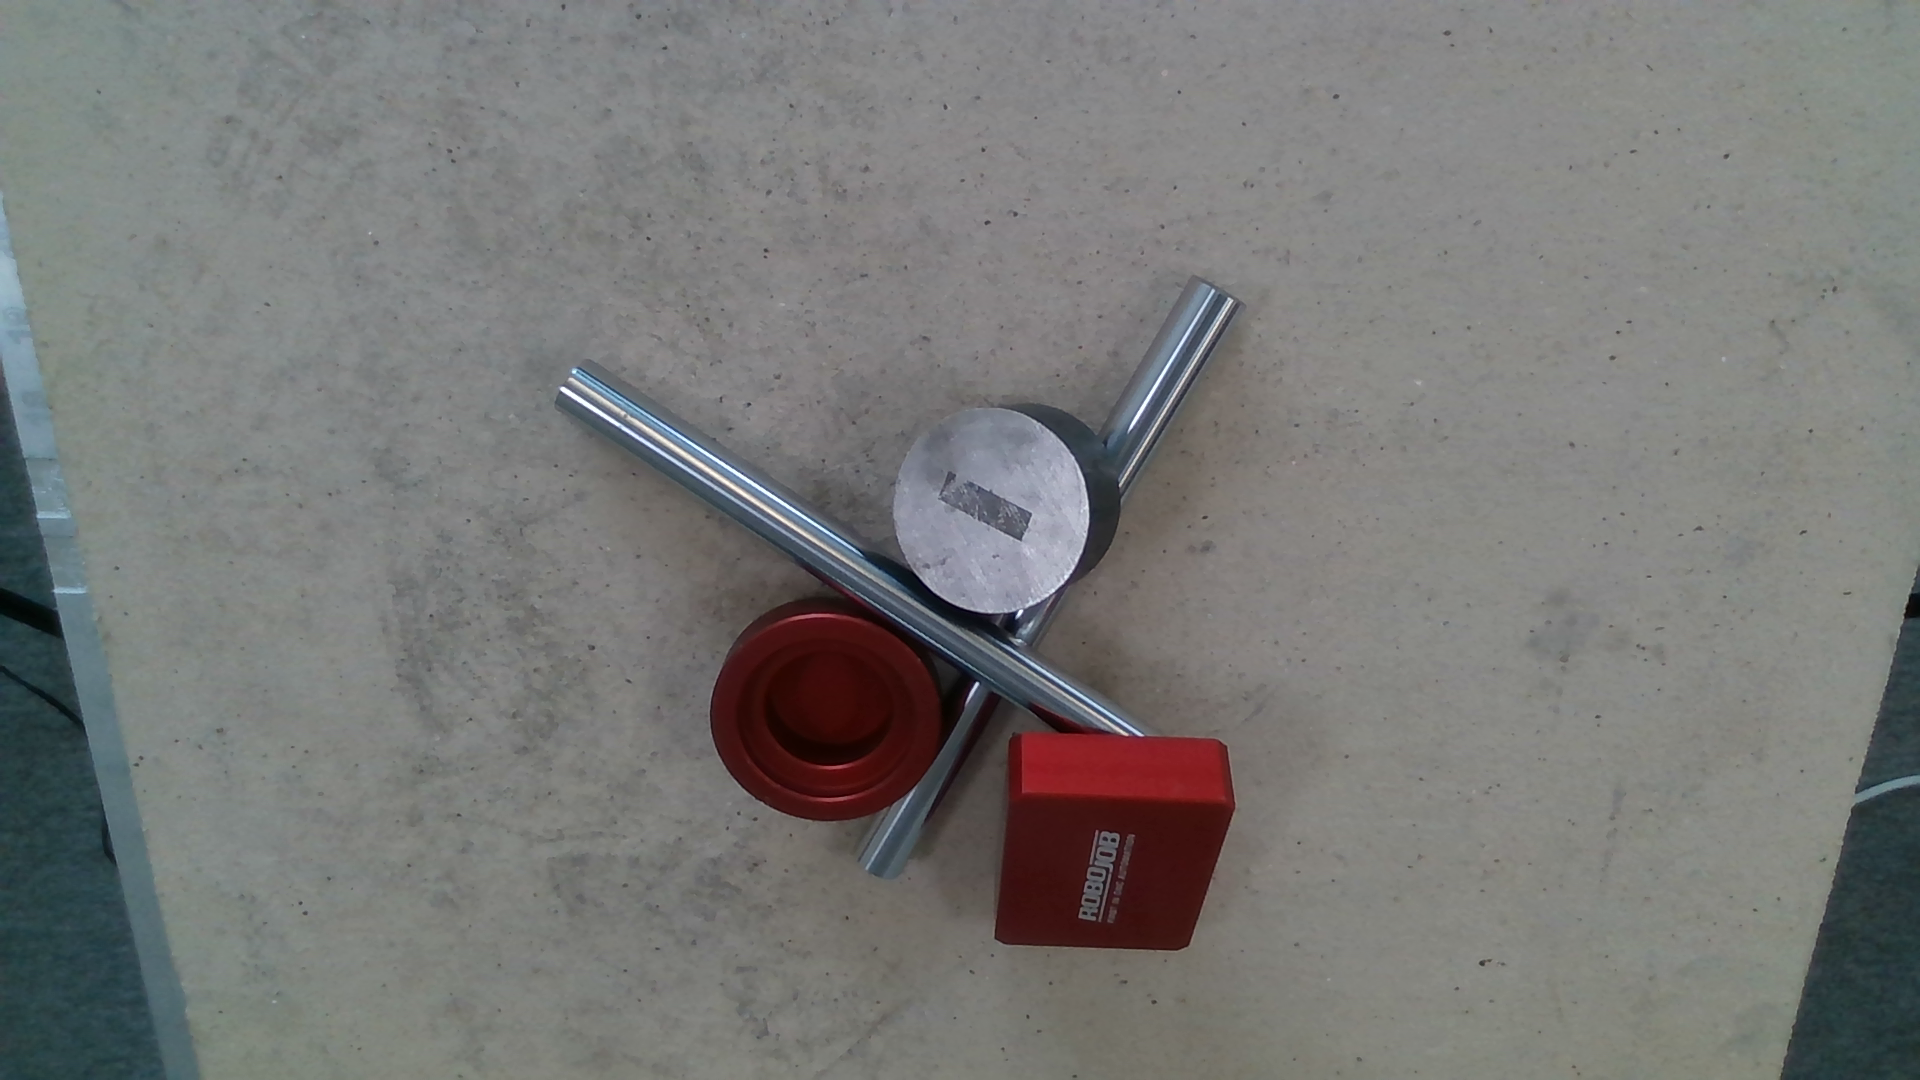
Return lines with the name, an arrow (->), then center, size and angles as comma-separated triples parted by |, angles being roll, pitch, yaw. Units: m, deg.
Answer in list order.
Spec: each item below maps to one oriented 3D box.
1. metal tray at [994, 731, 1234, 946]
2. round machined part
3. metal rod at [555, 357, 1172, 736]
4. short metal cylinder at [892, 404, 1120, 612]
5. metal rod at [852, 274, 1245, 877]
metal tray -> 0.063, 0.134, 0.602 | 0.090, 0.030, 0.130 | 2, 138, -1
round machined part -> -0.057, 0.069, 0.602 | 0.098, 0.042, 0.098 | 0, 110, 0
metal rod -> -0.033, 0.018, 0.573 | 0.300, 0.025, 0.025 | 33, 107, -5
short metal cylinder -> 0.019, -0.015, 0.552 | 0.080, 0.050, 0.080 | 3, 98, 20
metal rod -> 0.032, 0.024, 0.595 | 0.025, 0.025, 0.300 | 27, 108, -9
